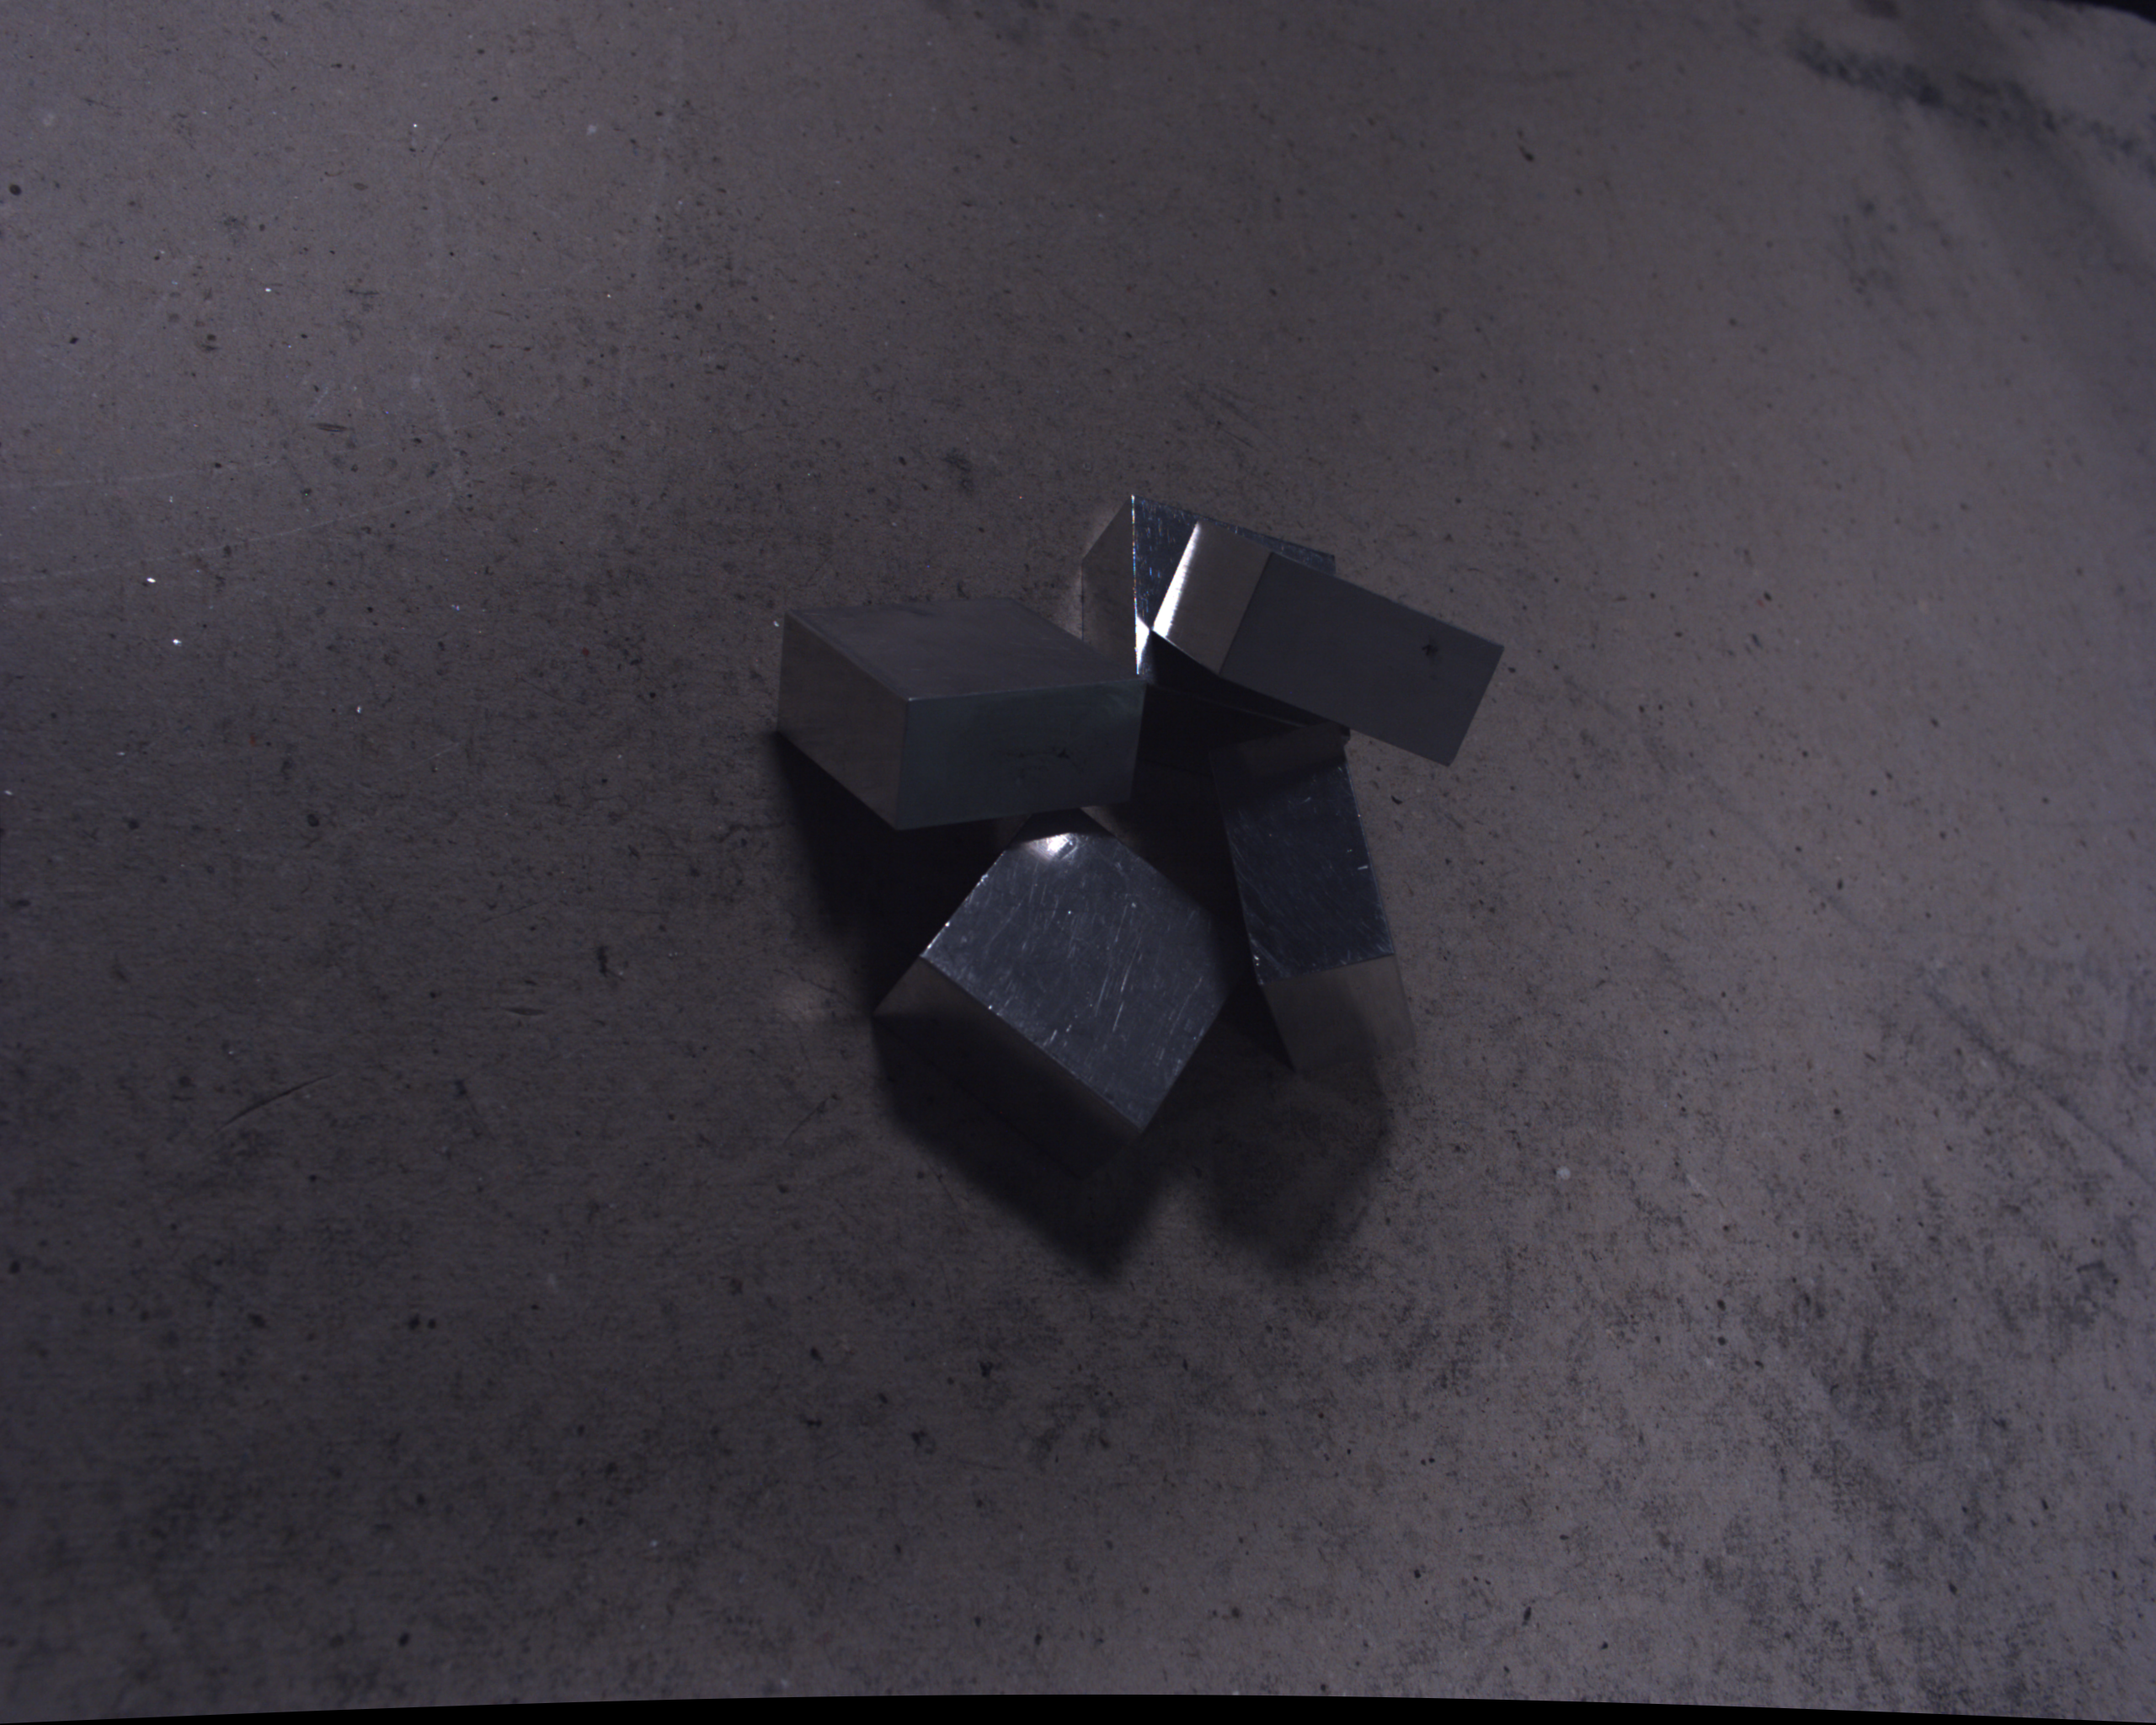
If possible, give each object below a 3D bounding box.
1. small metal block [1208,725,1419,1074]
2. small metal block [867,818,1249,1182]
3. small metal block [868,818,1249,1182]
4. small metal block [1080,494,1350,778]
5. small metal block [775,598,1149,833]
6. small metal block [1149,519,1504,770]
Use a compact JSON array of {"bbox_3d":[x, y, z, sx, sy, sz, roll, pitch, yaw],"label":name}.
[{"bbox_3d":[0.047,0.008,0.408,0.025,0.050,0.050,-14,63,8],"label":"small metal block"},{"bbox_3d":[-0.002,0.023,0.392,0.050,0.025,0.050,38,51,-2],"label":"small metal block"},{"bbox_3d":[-0.002,0.022,0.392,0.050,0.025,0.050,39,51,-3],"label":"small metal block"},{"bbox_3d":[0.029,-0.046,0.451,0.050,0.025,0.050,13,56,-22],"label":"small metal block"},{"bbox_3d":[-0.023,-0.029,0.396,0.050,0.025,0.050,-8,28,-32],"label":"small metal block"},{"bbox_3d":[0.047,-0.044,0.410,0.050,0.025,0.050,20,11,-17],"label":"small metal block"}]
